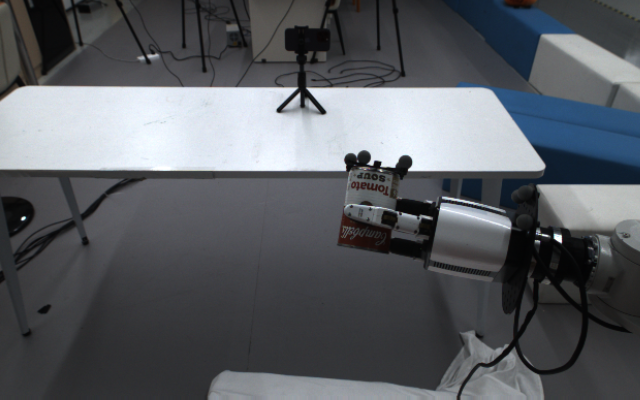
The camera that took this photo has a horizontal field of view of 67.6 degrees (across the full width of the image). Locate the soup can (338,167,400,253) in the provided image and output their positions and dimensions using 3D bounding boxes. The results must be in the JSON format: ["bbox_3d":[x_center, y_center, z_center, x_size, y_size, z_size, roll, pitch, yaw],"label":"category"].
[{"bbox_3d":[0.064,0.013,0.622,0.067,0.101,0.067,9,-5,1],"label":"soup can"}]
